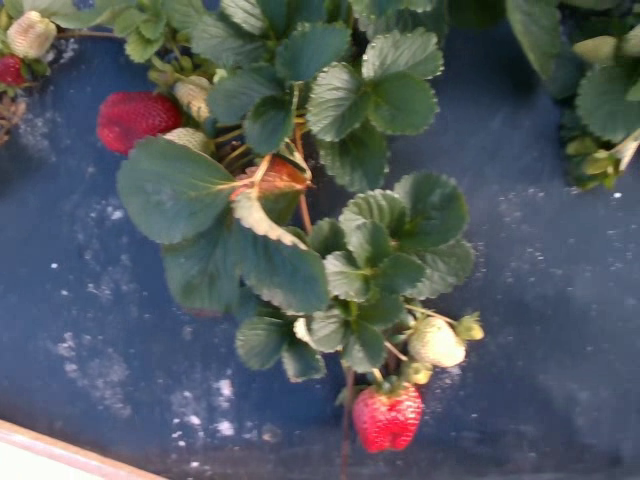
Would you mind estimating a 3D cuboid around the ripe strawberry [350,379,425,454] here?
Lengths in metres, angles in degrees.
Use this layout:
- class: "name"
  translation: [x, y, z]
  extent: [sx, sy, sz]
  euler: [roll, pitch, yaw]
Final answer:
- class: "ripe strawberry"
  translation: [0.049, 0.130, 0.373]
  extent: [0.047, 0.050, 0.035]
  euler: [0, 15, 11]

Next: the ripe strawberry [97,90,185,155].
- class: "ripe strawberry"
  translation: [-0.145, -0.090, 0.431]
  extent: [0.070, 0.058, 0.057]
  euler: [18, 25, -24]
